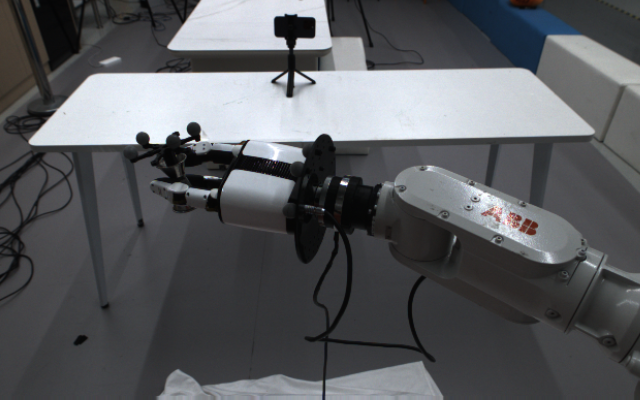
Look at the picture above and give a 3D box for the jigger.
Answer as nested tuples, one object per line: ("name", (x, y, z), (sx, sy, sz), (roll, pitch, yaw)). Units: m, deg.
("jigger", (-0.181, -0.022, 0.634), (0.043, 0.071, 0.043), (-10, 33, 6))
